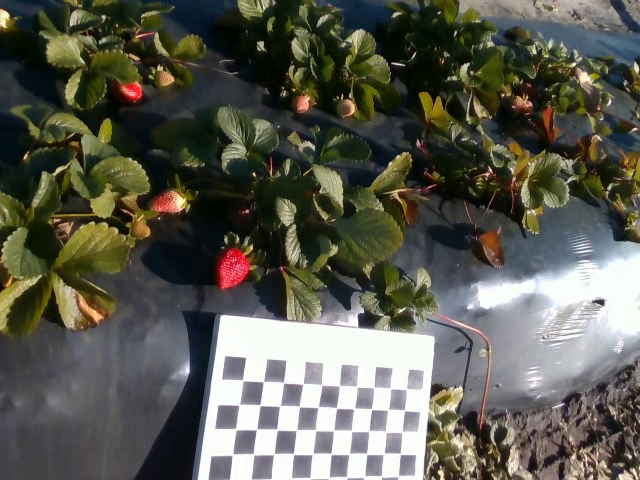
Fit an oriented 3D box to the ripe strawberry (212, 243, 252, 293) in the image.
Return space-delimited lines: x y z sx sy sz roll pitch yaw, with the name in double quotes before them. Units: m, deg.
"ripe strawberry" -0.102 0.032 0.653 0.058 0.066 0.062 -33 17 5
